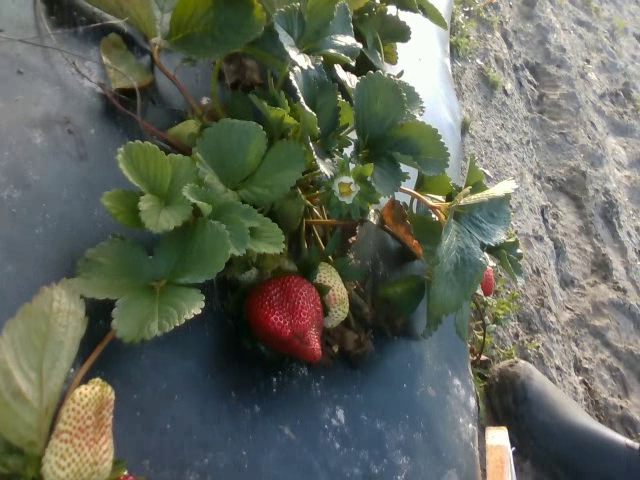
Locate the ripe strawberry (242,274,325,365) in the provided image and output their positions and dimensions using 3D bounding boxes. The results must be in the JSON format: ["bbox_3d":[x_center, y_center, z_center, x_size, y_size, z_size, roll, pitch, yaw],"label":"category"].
[{"bbox_3d":[-0.017,0.052,0.362,0.057,0.058,0.071,-14,11,-6],"label":"ripe strawberry"}]
